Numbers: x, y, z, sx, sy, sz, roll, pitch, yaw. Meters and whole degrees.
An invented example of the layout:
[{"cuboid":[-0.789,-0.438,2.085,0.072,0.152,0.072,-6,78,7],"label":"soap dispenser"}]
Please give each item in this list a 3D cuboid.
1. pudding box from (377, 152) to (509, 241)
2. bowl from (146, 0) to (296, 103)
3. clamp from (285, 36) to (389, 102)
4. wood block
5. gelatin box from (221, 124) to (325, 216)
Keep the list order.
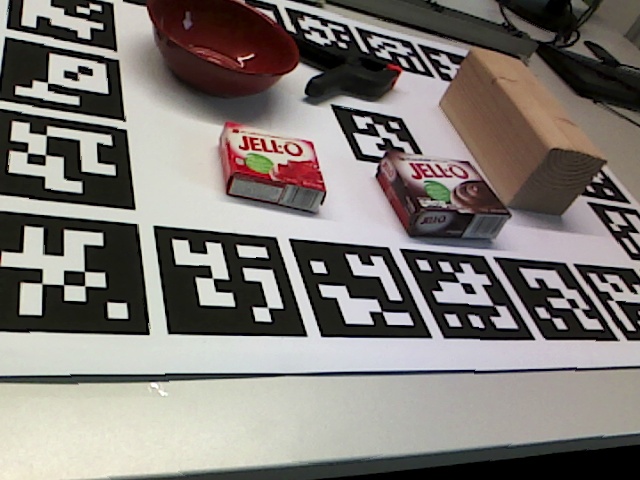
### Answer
[{"cuboid":[0.125,-0.044,0.638,0.113,0.039,0.090,2,50,-26],"label":"pudding box"},{"cuboid":[-0.109,-0.196,0.657,0.161,0.055,0.162,17,43,-17],"label":"bowl"},{"cuboid":[0.018,-0.208,0.763,0.164,0.036,0.122,-3,49,-36],"label":"clamp"},{"cuboid":[0.245,-0.136,0.765,0.089,0.091,0.207,7,44,-26],"label":"wood block"},{"cuboid":[-0.044,-0.065,0.563,0.089,0.030,0.073,11,45,-21],"label":"gelatin box"}]
